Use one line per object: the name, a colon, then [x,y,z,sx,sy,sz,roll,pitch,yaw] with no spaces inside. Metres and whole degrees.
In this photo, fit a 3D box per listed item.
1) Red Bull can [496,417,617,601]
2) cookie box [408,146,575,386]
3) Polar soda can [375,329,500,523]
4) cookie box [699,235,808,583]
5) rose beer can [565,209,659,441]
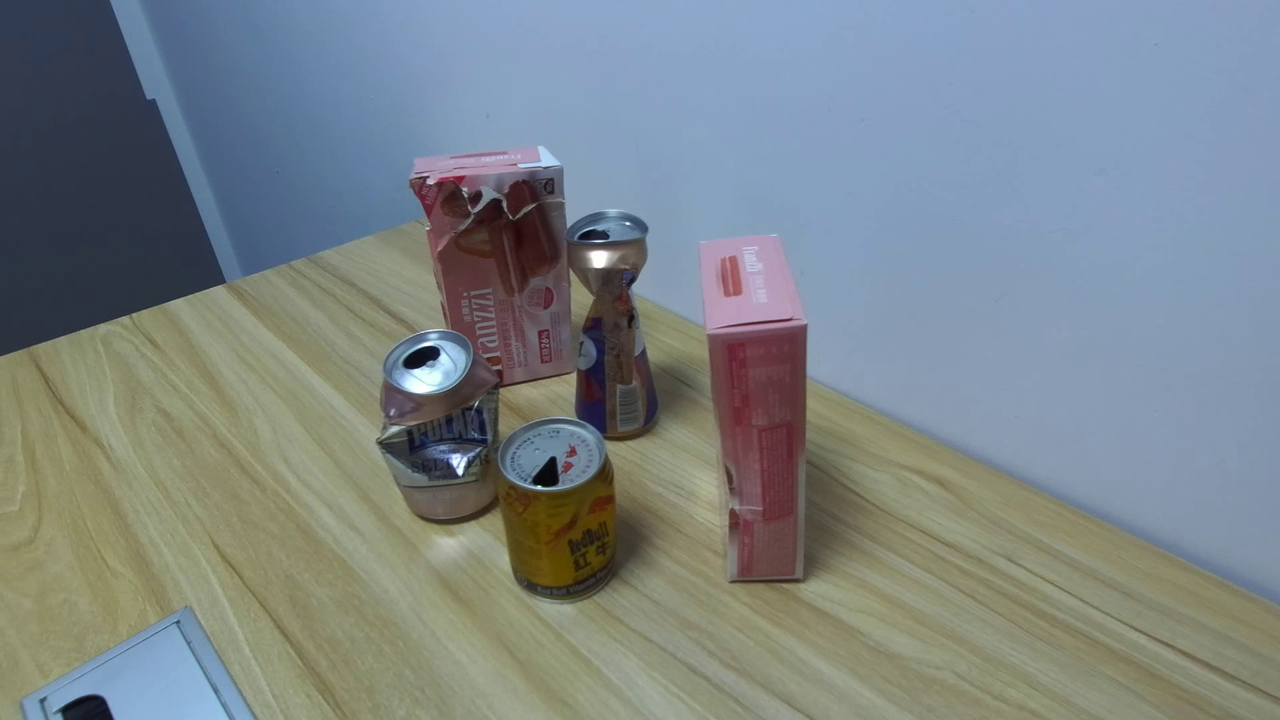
Red Bull can: [-0.048,0.089,0.416,0.069,0.092,0.069,-1,33,1]
cookie box: [-0.108,-0.065,0.555,0.105,0.186,0.059,-11,35,-13]
Polar soda can: [-0.129,0.047,0.457,0.066,0.122,0.071,24,44,24]
cookie box: [0.066,0.036,0.406,0.049,0.188,0.105,-5,34,6]
rose beer can: [-0.018,-0.022,0.513,0.068,0.162,0.073,-21,35,-27]
